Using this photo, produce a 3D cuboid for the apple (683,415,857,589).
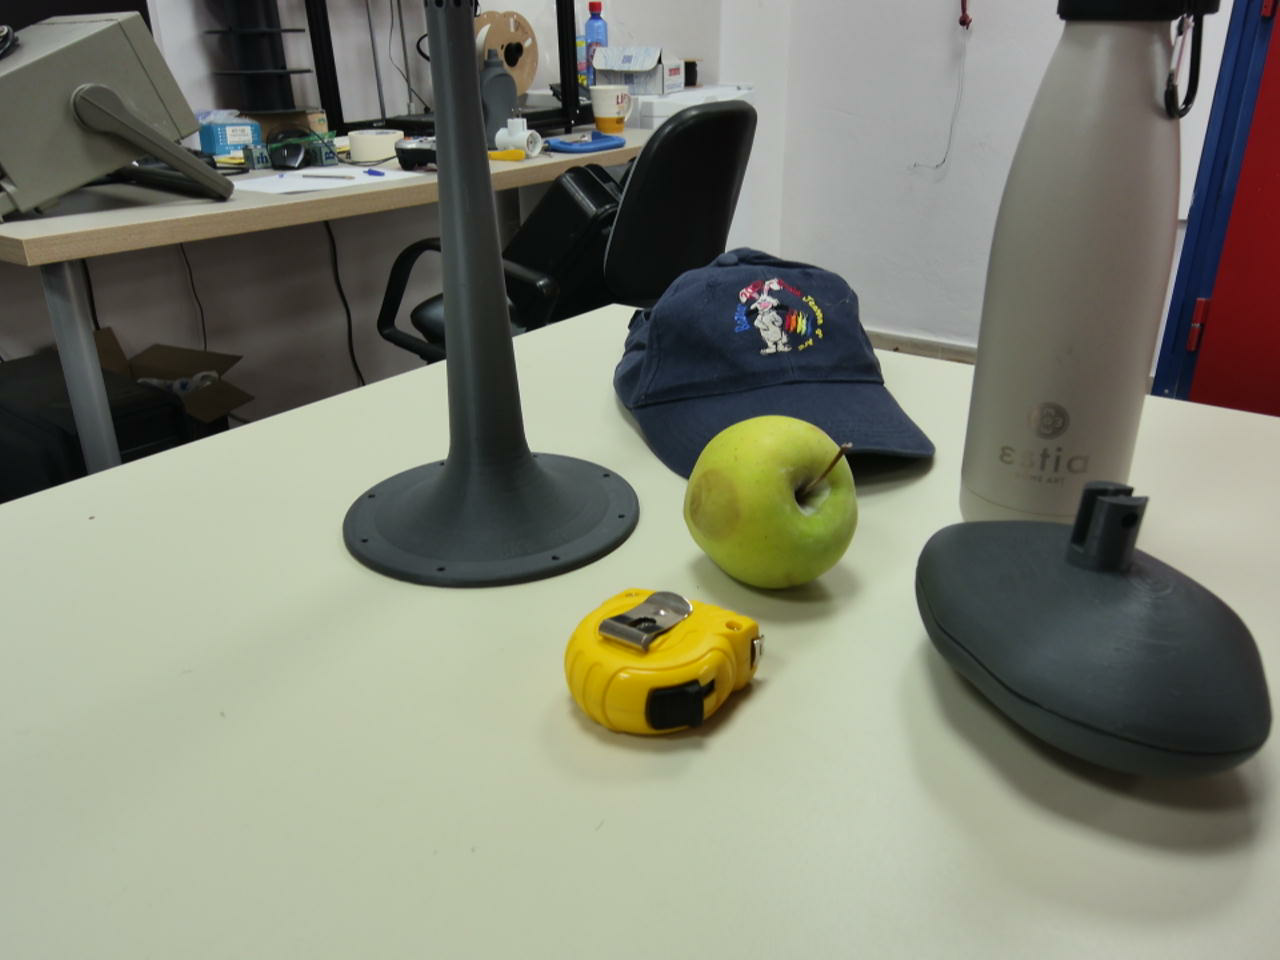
[{"bbox_3d":[0.057,0.008,0.439,0.072,0.075,0.077,-2,23,-7],"label":"apple"}]
